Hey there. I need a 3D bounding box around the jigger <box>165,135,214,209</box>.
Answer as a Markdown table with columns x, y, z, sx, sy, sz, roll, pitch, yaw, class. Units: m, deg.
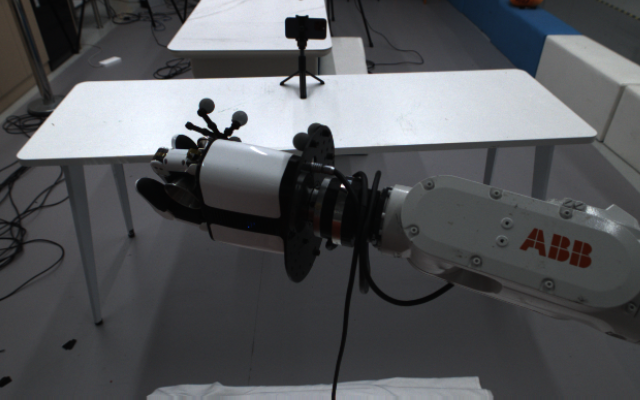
| x | y | z | sx | sy | sz | roll | pitch | yaw | class |
| --- | --- | --- | --- | --- | --- | --- | --- | --- | --- |
| -0.130 | -0.032 | 0.520 | 0.043 | 0.043 | 0.071 | 15 | 58 | 18 | jigger |
